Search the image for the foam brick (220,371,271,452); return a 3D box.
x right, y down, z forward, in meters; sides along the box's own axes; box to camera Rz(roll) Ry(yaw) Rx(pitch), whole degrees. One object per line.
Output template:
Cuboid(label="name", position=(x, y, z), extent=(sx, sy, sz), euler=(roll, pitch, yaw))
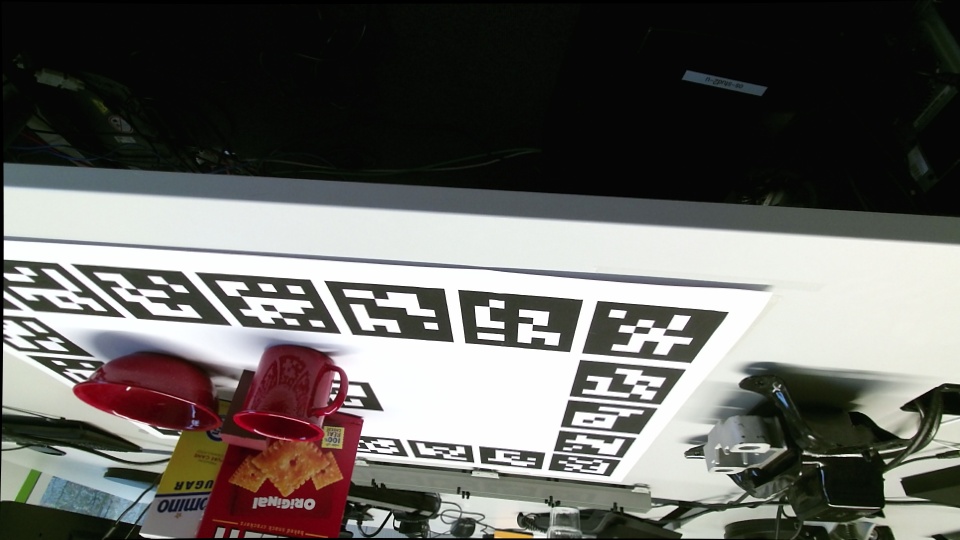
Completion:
Cuboid(label="foam brick", position=(-0.272, 0.171, 0.646), extent=(0.053, 0.077, 0.051), euler=(12, 145, -9))

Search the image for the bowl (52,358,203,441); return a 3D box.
Cuboid(label="bowl", position=(-0.395, 0.148, 0.628), extent=(0.162, 0.055, 0.162), euler=(4, 144, 3))

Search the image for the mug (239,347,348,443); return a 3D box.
Cuboid(label="mug", position=(-0.193, 0.130, 0.558), extent=(0.117, 0.081, 0.093), euler=(-3, 152, 11))

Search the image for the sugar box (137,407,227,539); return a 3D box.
Cuboid(label="sugar box", position=(-0.369, 0.275, 0.716), extent=(0.093, 0.175, 0.045), euler=(16, 144, -13))

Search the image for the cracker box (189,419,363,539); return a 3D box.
Cuboid(label="cracker box", position=(-0.260, 0.289, 0.687), extent=(0.165, 0.212, 0.072), euler=(22, 144, -19))
